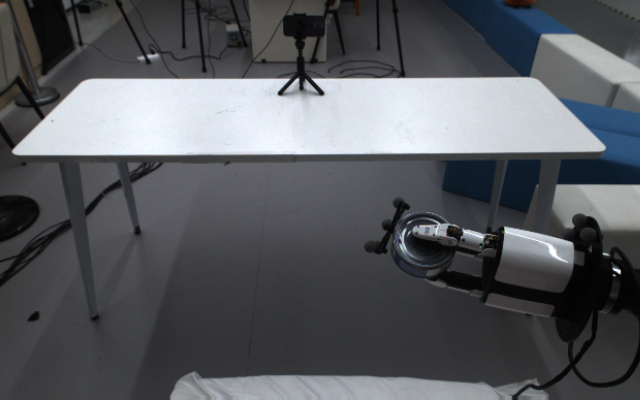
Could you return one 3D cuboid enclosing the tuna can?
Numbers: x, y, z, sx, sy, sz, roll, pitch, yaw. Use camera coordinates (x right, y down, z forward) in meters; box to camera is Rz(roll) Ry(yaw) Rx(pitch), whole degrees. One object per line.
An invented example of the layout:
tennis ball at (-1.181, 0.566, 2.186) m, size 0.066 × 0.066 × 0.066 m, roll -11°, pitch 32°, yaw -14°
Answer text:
tuna can at (0.142, 0.058, 0.652) m, size 0.085 × 0.034 × 0.085 m, roll -1°, pitch 61°, yaw 1°
